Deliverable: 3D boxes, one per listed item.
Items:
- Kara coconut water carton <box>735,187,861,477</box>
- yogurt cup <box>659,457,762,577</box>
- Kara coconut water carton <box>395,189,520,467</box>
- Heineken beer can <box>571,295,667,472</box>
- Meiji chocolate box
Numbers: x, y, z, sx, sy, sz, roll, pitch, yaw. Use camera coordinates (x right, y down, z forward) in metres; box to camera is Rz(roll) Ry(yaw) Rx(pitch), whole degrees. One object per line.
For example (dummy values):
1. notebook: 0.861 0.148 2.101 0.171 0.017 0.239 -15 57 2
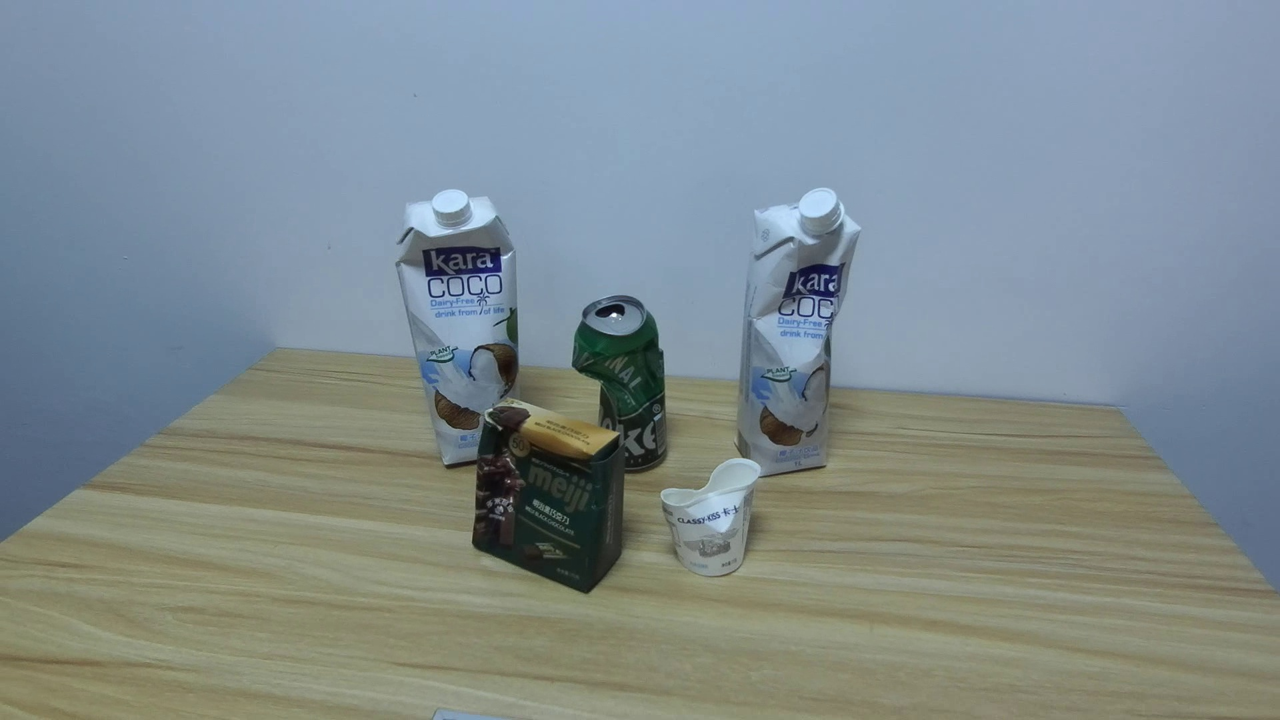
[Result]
1. Kara coconut water carton: 0.129 -0.023 0.601 0.083 0.256 0.078 0 28 -1
2. yogurt cup: 0.053 0.117 0.529 0.053 0.071 0.075 15 31 28
3. Kara coconut water carton: -0.154 -0.029 0.630 0.100 0.244 0.071 -10 26 -15
4. Heineken beer can: -0.012 0.023 0.627 0.067 0.159 0.079 1 32 13
5. Meiji chocolate box: -0.070 0.100 0.536 0.113 0.110 0.058 13 21 24
